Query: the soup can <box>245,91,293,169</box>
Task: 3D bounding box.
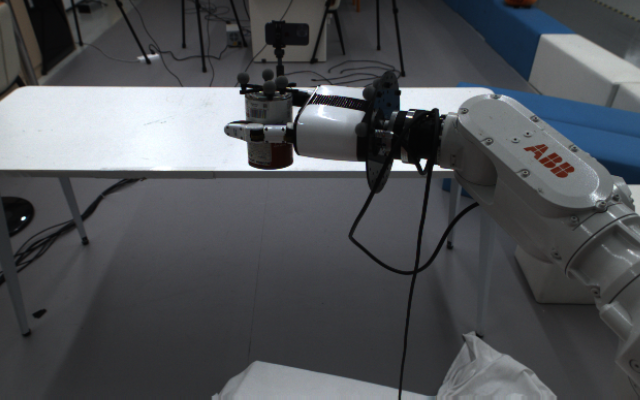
[{"bbox_3d":[-0.071,-0.101,0.686,0.067,0.101,0.067,1,25,0],"label":"soup can"}]
